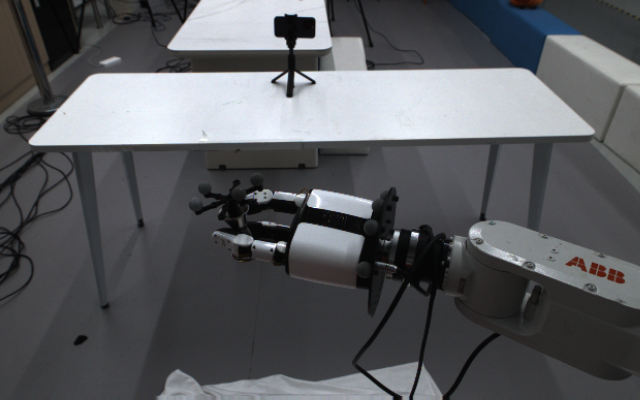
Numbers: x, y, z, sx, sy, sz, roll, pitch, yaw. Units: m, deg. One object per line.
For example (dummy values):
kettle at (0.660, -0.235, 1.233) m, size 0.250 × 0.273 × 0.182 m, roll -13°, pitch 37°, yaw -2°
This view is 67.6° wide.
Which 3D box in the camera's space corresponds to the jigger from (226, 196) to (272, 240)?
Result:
jigger at (-0.101, 0.041, 0.629) m, size 0.043 × 0.071 × 0.043 m, roll -10°, pitch 32°, yaw 6°
